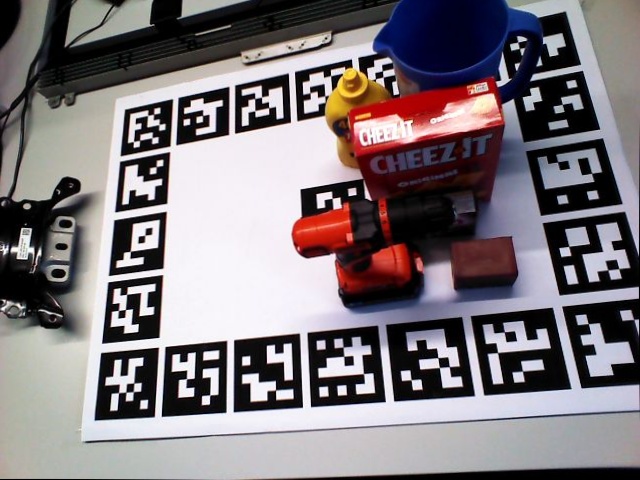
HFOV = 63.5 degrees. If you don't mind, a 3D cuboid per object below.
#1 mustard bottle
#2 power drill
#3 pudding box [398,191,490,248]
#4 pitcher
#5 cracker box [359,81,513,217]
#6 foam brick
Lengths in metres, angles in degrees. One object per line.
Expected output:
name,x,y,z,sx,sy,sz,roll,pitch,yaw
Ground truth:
mustard bottle,0.068,-0.170,0.708,0.097,0.191,0.058,5,74,18
power drill,0.088,0.020,0.613,0.185,0.187,0.057,-9,66,12
pudding box,0.163,-0.024,0.682,0.114,0.090,0.038,-8,68,16
pitcher,0.194,-0.191,0.666,0.190,0.242,0.132,-2,71,17
cracker box,0.154,-0.088,0.647,0.165,0.213,0.071,-10,67,15
foam brick,0.230,0.039,0.676,0.078,0.051,0.052,-5,72,14
